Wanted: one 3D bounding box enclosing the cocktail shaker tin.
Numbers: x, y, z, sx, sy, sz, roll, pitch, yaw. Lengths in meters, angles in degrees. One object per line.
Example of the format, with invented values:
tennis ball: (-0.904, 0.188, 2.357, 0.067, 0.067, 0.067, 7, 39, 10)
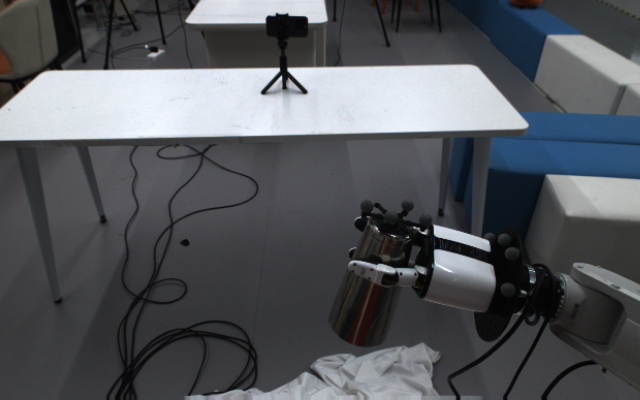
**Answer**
cocktail shaker tin: (0.080, 0.105, 0.678, 0.093, 0.170, 0.093, 12, 25, -6)
